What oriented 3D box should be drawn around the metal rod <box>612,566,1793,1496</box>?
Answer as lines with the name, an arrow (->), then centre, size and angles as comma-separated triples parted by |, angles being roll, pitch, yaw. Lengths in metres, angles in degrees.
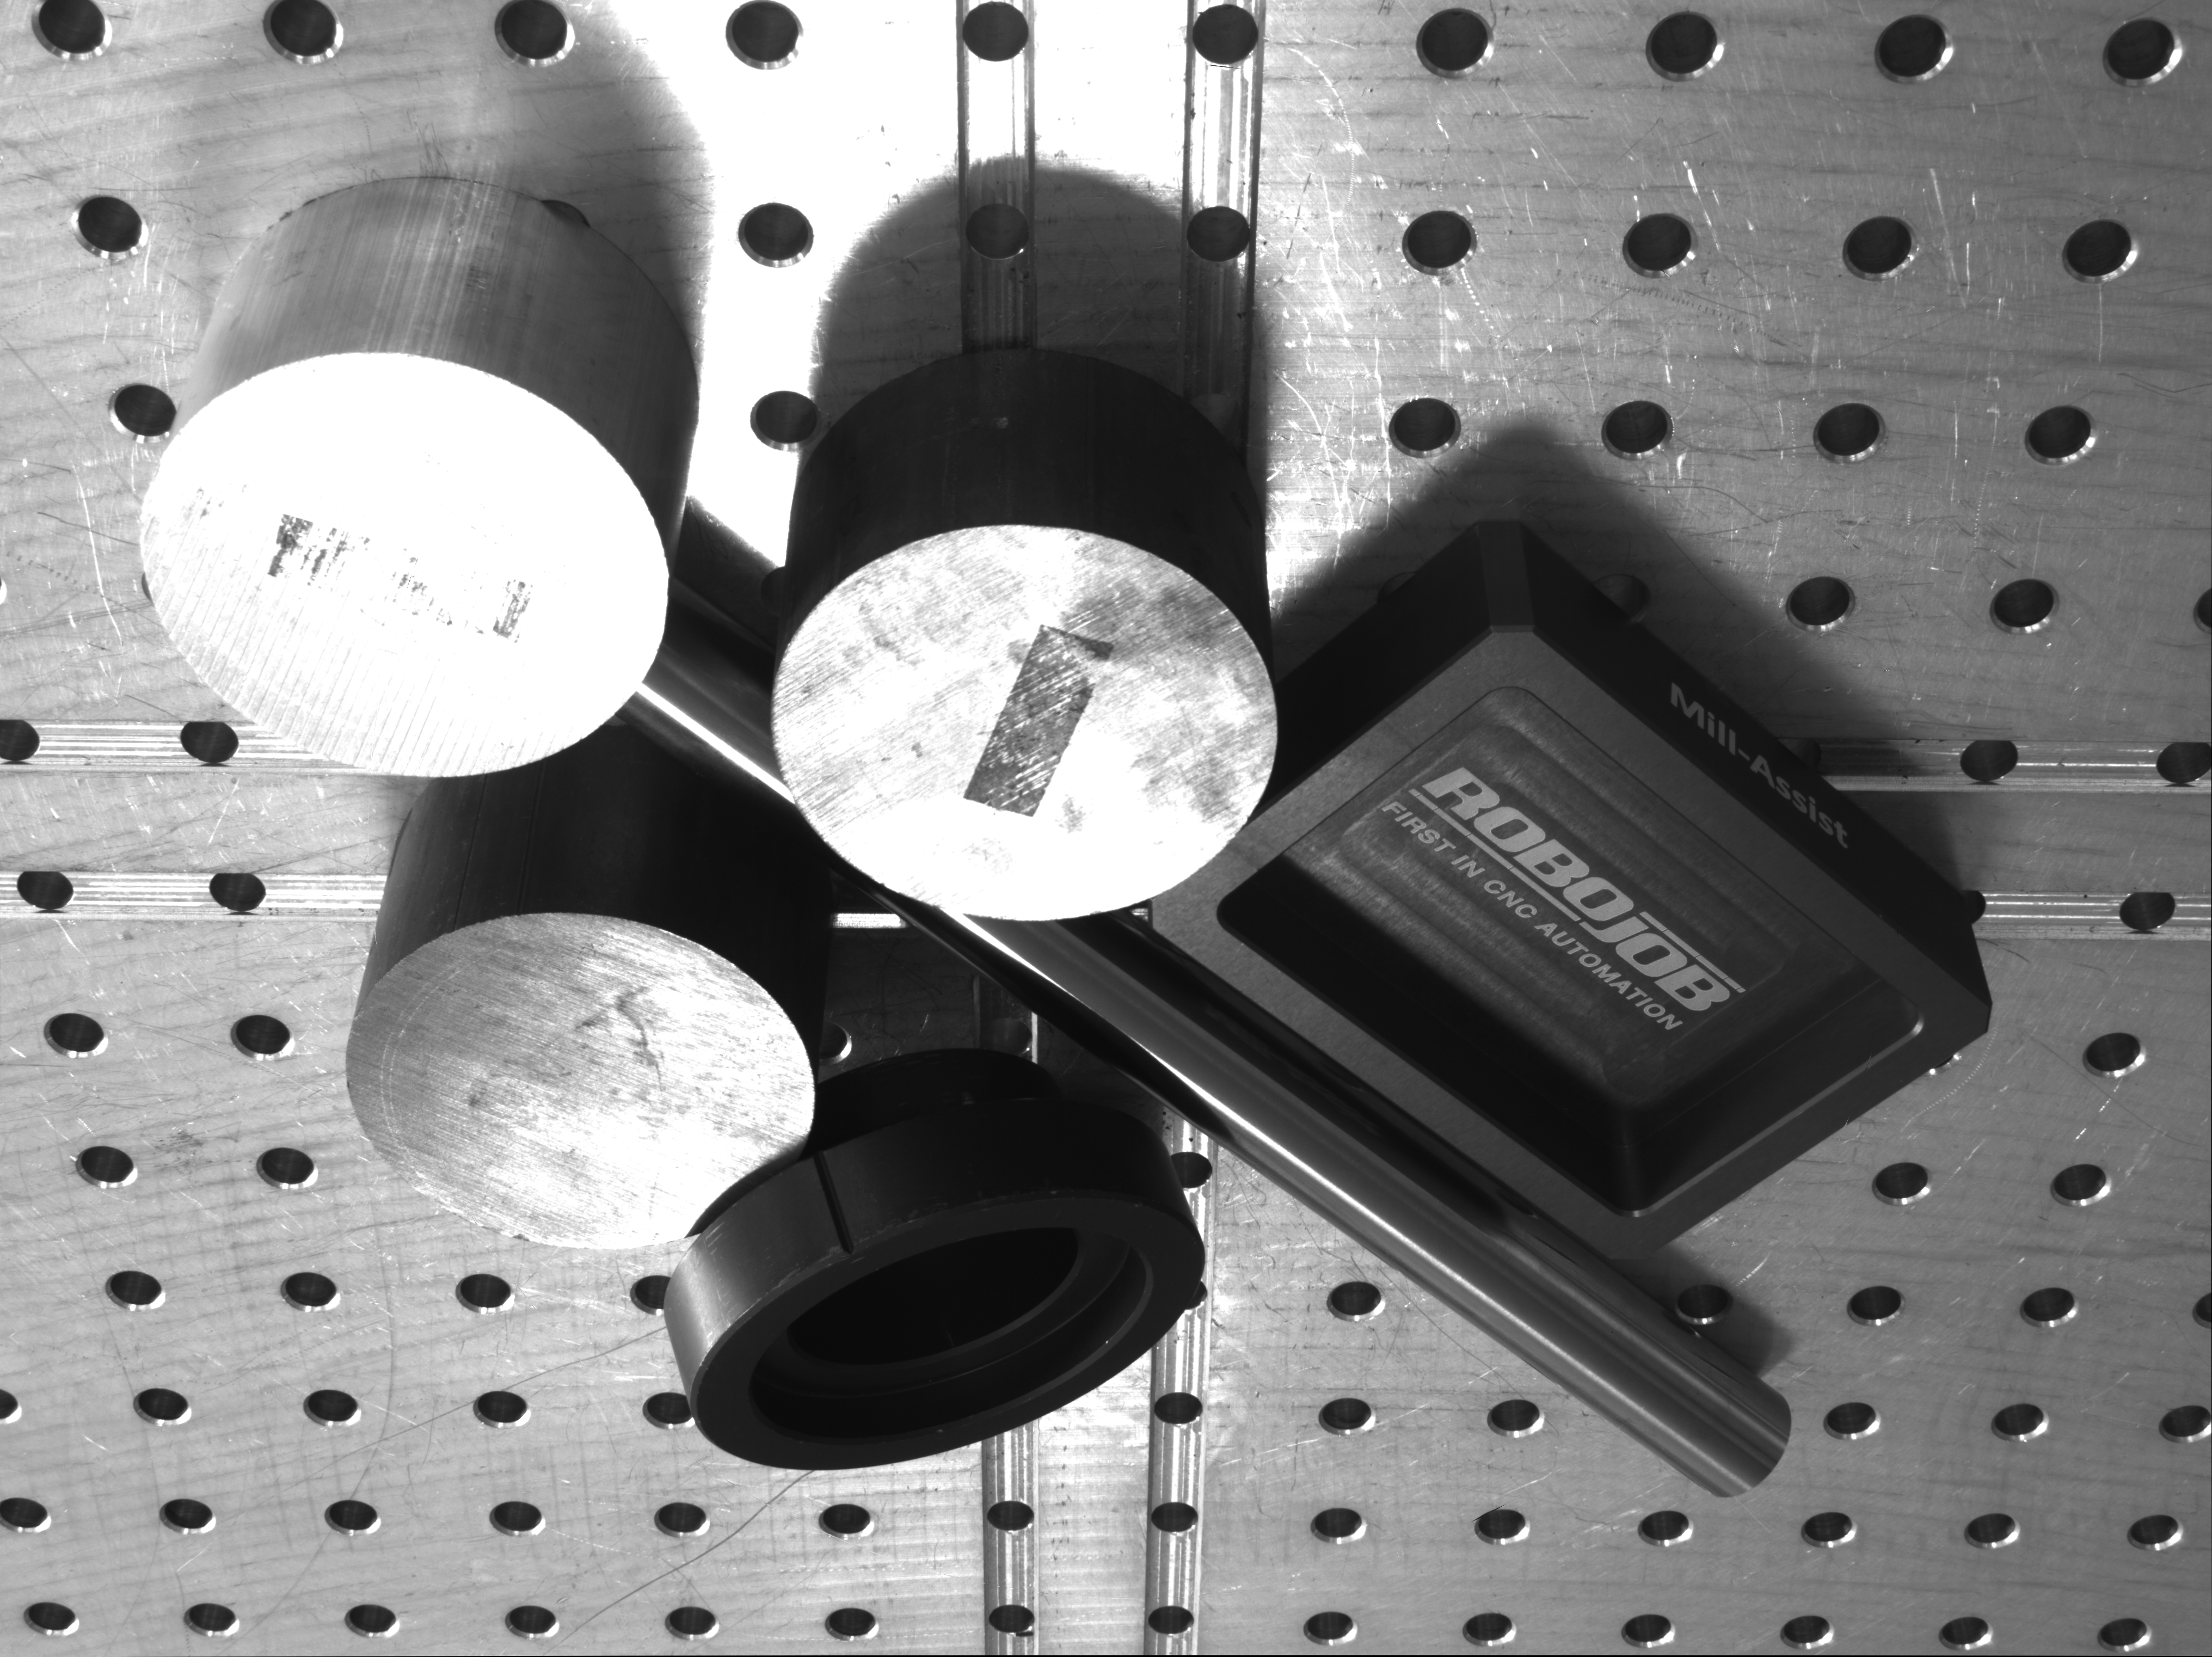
metal rod -> 0.023, 0.044, 0.680 | 0.301, 0.025, 0.025 | 37, 121, -27

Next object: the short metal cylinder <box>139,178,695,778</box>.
short metal cylinder -> -0.107, -0.055, 0.579 | 0.080, 0.050, 0.080 | 0, 130, 0

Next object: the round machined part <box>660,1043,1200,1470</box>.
round machined part -> -0.035, 0.076, 0.681 | 0.098, 0.042, 0.098 | -15, 147, -10

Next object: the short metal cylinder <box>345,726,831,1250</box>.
short metal cylinder -> -0.090, 0.029, 0.649 | 0.080, 0.050, 0.080 | 0, 130, 0

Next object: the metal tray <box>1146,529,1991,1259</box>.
metal tray -> 0.082, 0.015, 0.651 | 0.130, 0.030, 0.090 | 36, 122, -26

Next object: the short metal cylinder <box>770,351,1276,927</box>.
short metal cylinder -> -0.013, -0.030, 0.599 | 0.080, 0.050, 0.080 | 0, 130, 0
